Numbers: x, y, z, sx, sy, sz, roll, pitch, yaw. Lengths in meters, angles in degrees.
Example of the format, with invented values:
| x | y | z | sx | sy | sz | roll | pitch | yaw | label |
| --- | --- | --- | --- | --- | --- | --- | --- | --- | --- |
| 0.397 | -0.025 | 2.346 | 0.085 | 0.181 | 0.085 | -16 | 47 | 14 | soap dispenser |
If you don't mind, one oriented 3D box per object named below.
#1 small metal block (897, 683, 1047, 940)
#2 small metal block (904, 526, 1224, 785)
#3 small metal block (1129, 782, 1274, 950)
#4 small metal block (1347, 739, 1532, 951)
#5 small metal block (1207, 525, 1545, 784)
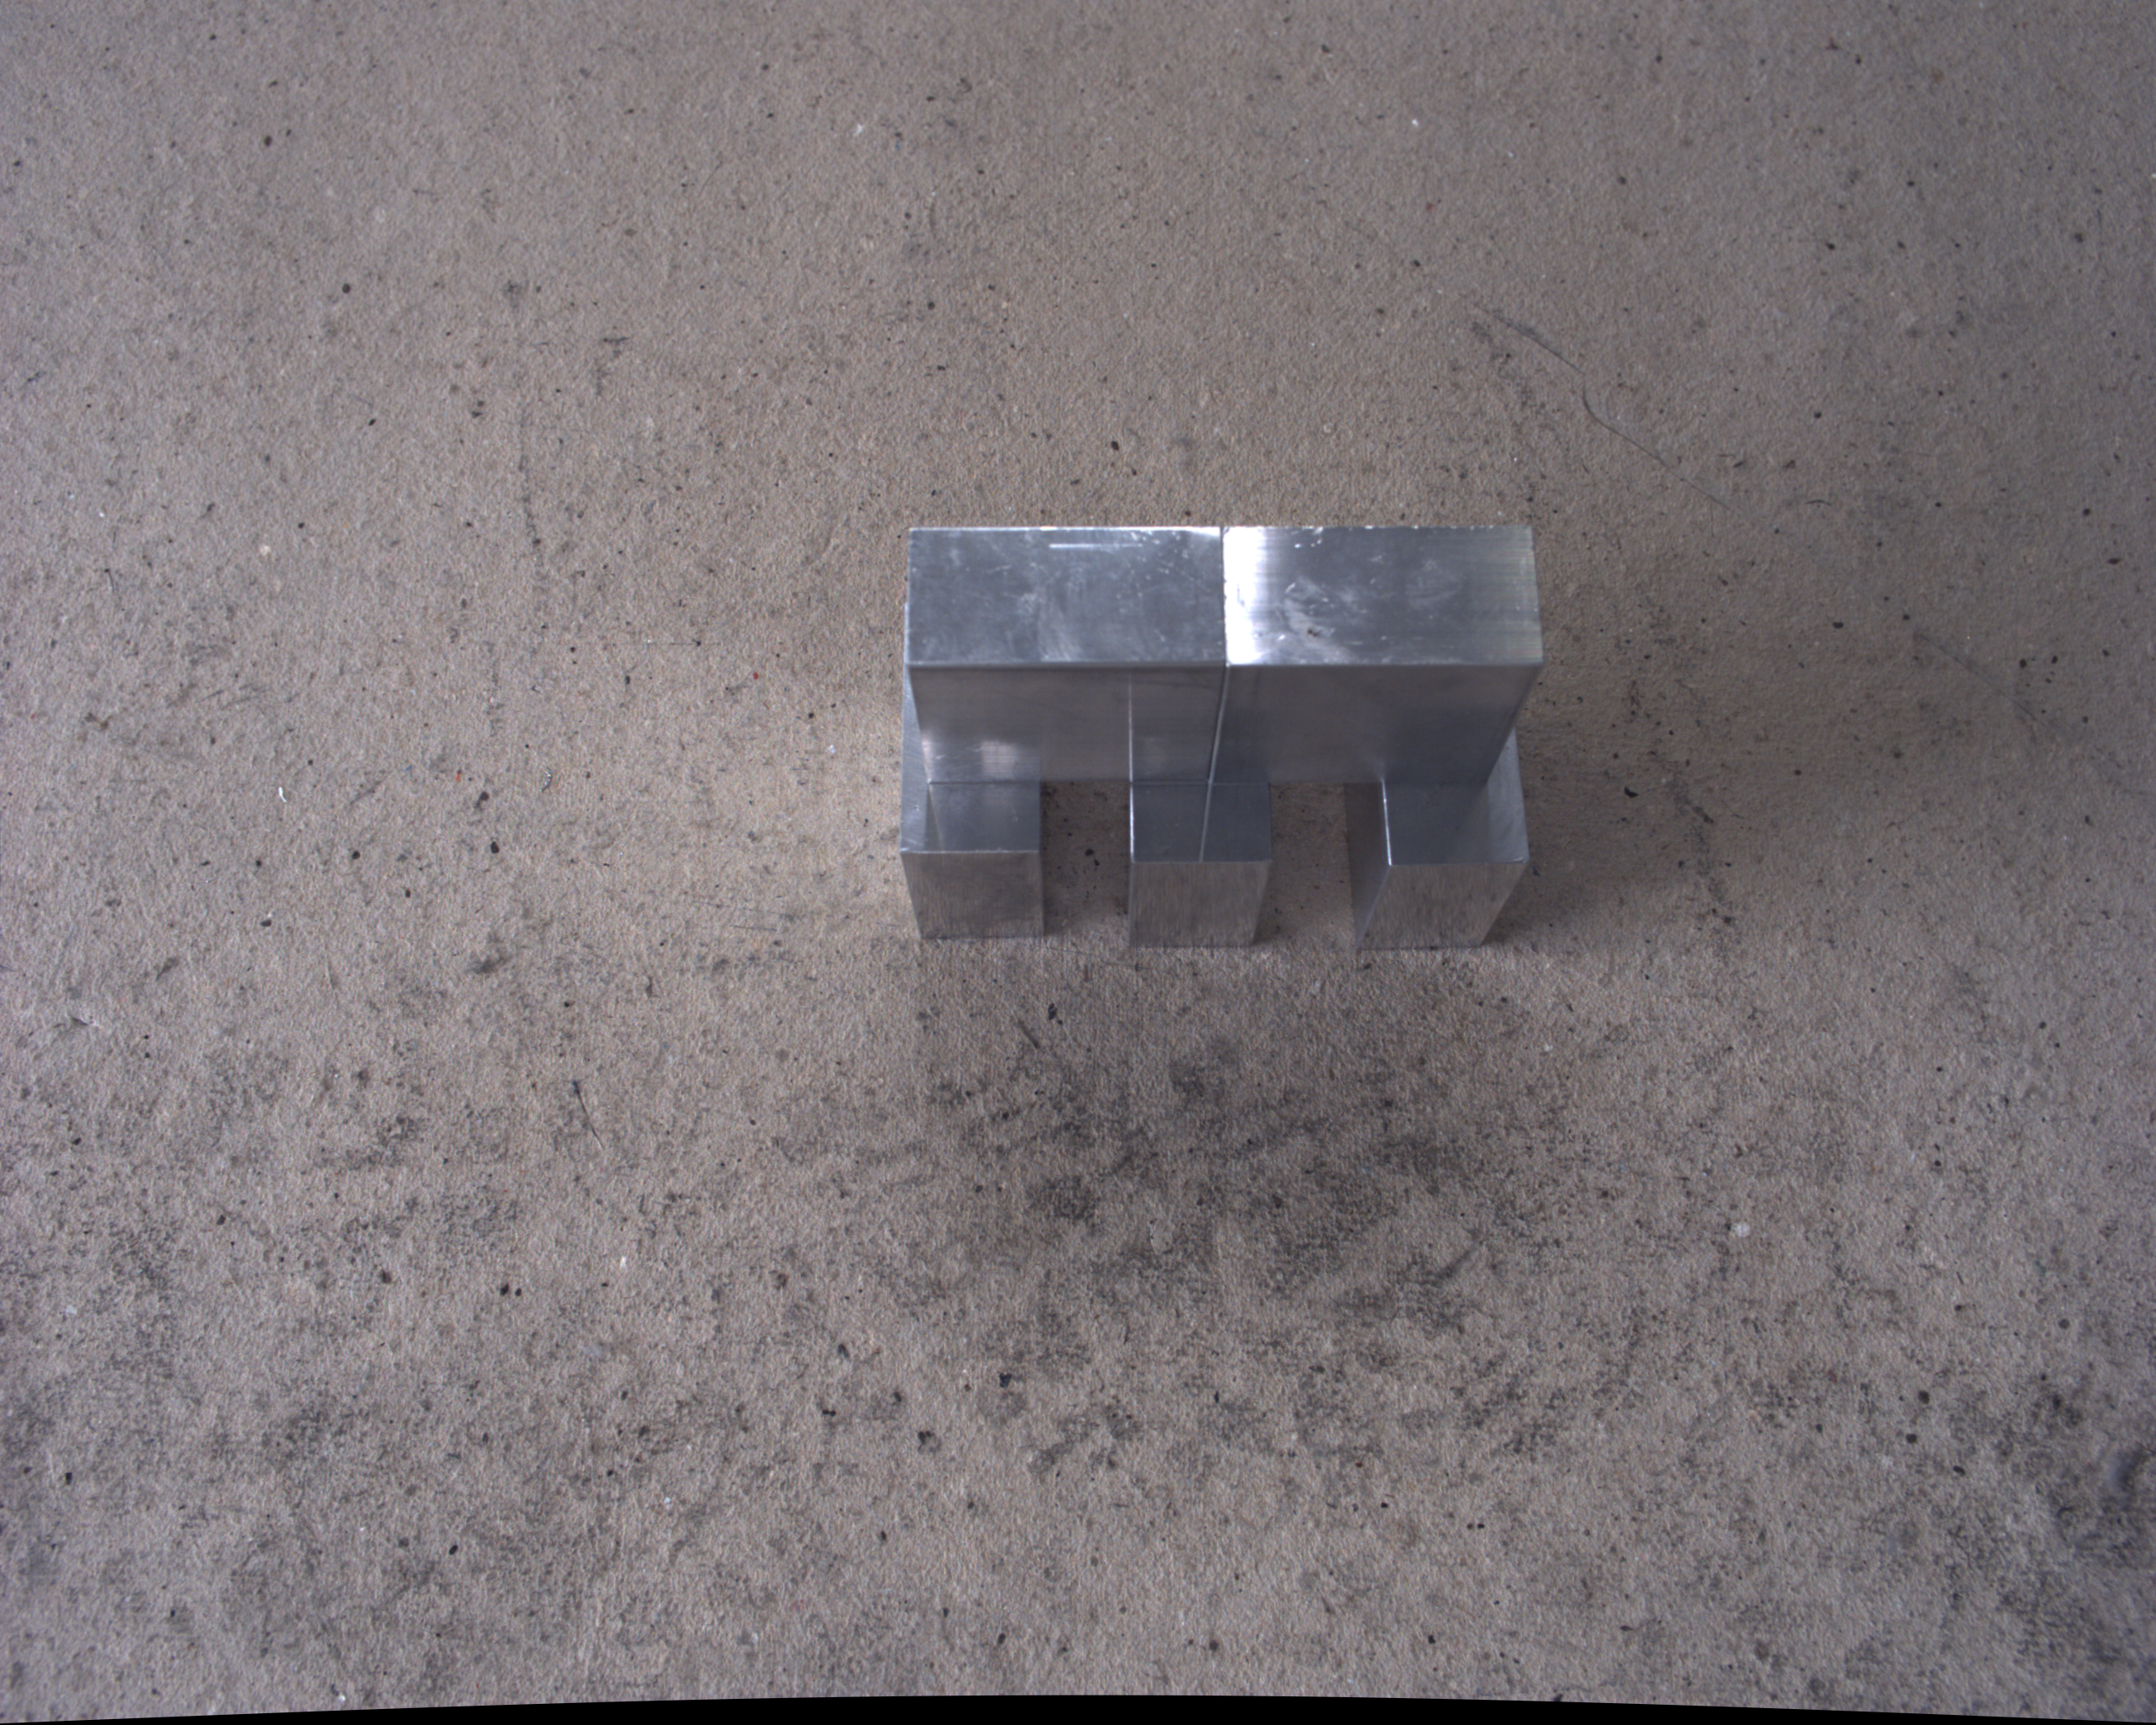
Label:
| x | y | z | sx | sy | sz | roll | pitch | yaw | label |
| --- | --- | --- | --- | --- | --- | --- | --- | --- | --- |
| -0.019 | -0.017 | 0.401 | 0.025 | 0.050 | 0.050 | -1 | 70 | 0 | small metal block |
| -0.002 | -0.034 | 0.356 | 0.050 | 0.050 | 0.025 | 0 | 70 | 0 | small metal block |
| 0.022 | -0.015 | 0.402 | 0.025 | 0.050 | 0.050 | -1 | 70 | 0 | small metal block |
| 0.068 | -0.014 | 0.402 | 0.025 | 0.050 | 0.050 | -1 | 70 | 0 | small metal block |
| 0.048 | -0.034 | 0.356 | 0.050 | 0.050 | 0.025 | 0 | 70 | 0 | small metal block |
